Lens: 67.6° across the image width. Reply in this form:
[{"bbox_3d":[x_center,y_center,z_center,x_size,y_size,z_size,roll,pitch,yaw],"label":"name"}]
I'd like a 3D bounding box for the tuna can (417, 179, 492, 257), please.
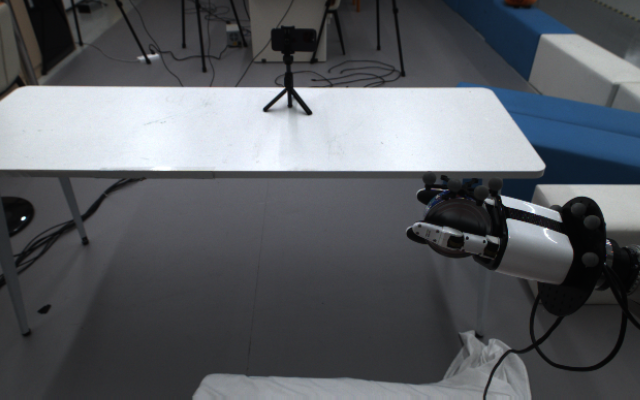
[{"bbox_3d":[0.178,0.028,0.629,0.085,0.085,0.034,9,24,10],"label":"tuna can"}]
